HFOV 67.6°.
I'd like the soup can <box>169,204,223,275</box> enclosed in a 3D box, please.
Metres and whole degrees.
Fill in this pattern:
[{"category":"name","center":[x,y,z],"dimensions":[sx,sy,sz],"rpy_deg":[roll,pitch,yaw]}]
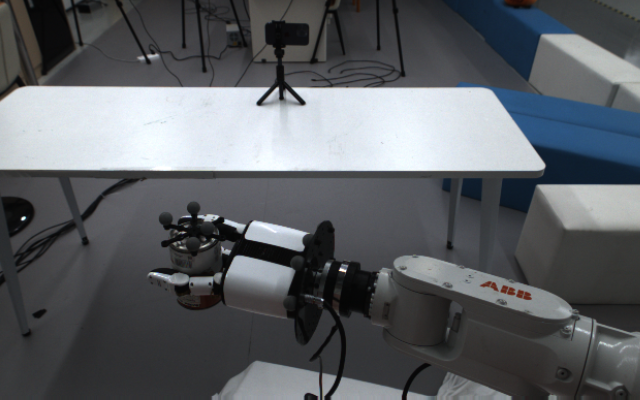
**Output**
[{"category":"soup can","center":[-0.163,0.090,0.648],"dimensions":[0.067,0.101,0.067],"rpy_deg":[2,32,-1]}]
